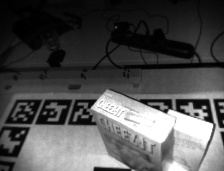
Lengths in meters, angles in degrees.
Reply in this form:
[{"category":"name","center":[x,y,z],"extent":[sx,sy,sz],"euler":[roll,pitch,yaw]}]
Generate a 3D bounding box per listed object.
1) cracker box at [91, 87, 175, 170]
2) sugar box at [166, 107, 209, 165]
[{"category":"cracker box","center":[0.049,0.118,0.496],"extent":[0.162,0.215,0.072],"euler":[23,56,28]},{"category":"sugar box","center":[0.162,0.115,0.498],"extent":[0.092,0.178,0.045],"euler":[15,54,25]}]
